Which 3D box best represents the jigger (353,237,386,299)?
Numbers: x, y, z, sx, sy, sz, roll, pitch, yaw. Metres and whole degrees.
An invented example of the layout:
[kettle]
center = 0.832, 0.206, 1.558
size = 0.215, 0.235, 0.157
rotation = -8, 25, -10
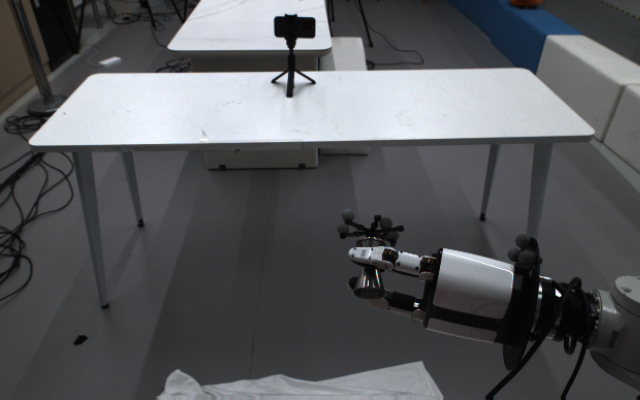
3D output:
[jigger]
center = 0.063, 0.084, 0.615
size = 0.043, 0.043, 0.071
rotation = 4, 61, 3
